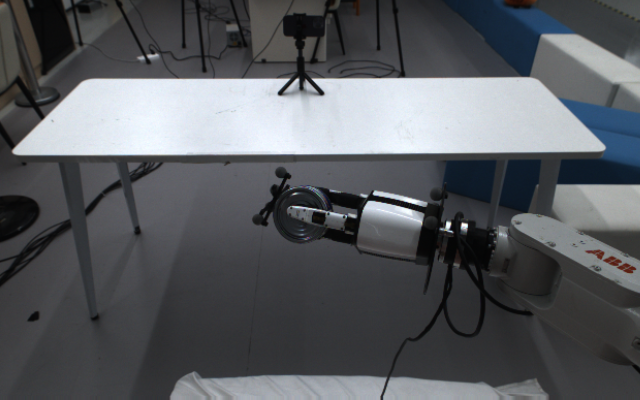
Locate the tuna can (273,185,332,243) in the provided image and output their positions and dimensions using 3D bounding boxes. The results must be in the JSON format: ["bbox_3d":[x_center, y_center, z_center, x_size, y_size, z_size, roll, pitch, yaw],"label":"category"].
[{"bbox_3d":[-0.023,0.024,0.715,0.085,0.085,0.034,8,5,9],"label":"tuna can"}]
